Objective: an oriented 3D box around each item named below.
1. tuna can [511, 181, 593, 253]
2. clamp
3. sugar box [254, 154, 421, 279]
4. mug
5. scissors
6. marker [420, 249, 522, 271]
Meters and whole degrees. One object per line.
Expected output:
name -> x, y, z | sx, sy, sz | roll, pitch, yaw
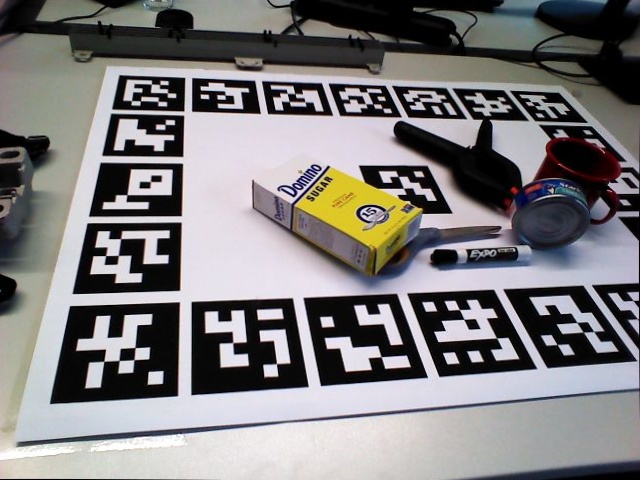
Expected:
tuna can -> 0.272, -0.025, 0.609 | 0.086, 0.086, 0.033 | 12, 45, 1
clamp -> 0.216, -0.104, 0.726 | 0.165, 0.037, 0.202 | -8, 49, -18
sugar box -> 0.016, -0.036, 0.592 | 0.177, 0.045, 0.092 | 35, 49, 30
mug -> 0.322, -0.060, 0.660 | 0.093, 0.082, 0.117 | -22, 50, -29
scissors -> 0.122, -0.009, 0.608 | 0.202, 0.016, 0.087 | -7, 44, -20
marker -> 0.172, 0.022, 0.590 | 0.121, 0.020, 0.019 | -3, 47, -13
